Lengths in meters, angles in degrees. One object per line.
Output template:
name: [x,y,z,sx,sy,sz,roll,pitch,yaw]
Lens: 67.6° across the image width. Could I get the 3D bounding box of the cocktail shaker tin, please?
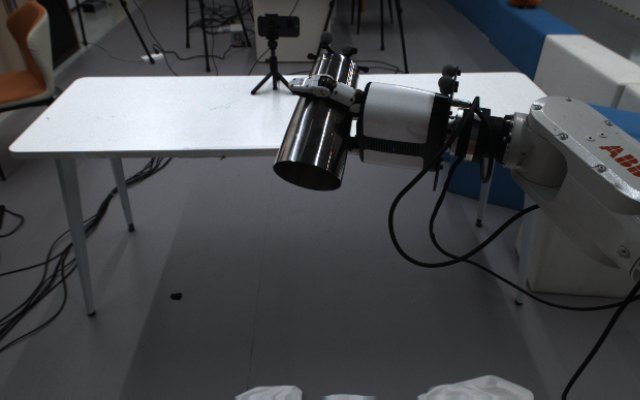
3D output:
cocktail shaker tin: [0.004,-0.108,0.651,0.093,0.093,0.170,11,72,12]
